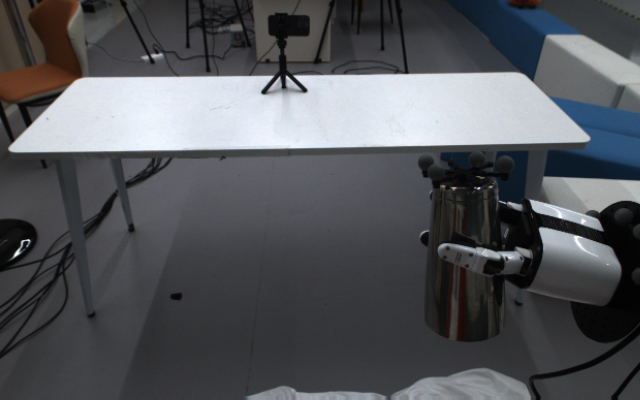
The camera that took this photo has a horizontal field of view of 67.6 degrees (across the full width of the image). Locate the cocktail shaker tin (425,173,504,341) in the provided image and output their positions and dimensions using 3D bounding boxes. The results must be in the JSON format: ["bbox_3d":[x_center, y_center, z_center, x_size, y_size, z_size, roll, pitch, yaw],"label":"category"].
[{"bbox_3d":[0.162,0.059,0.540,0.093,0.170,0.093,-6,19,2],"label":"cocktail shaker tin"}]
